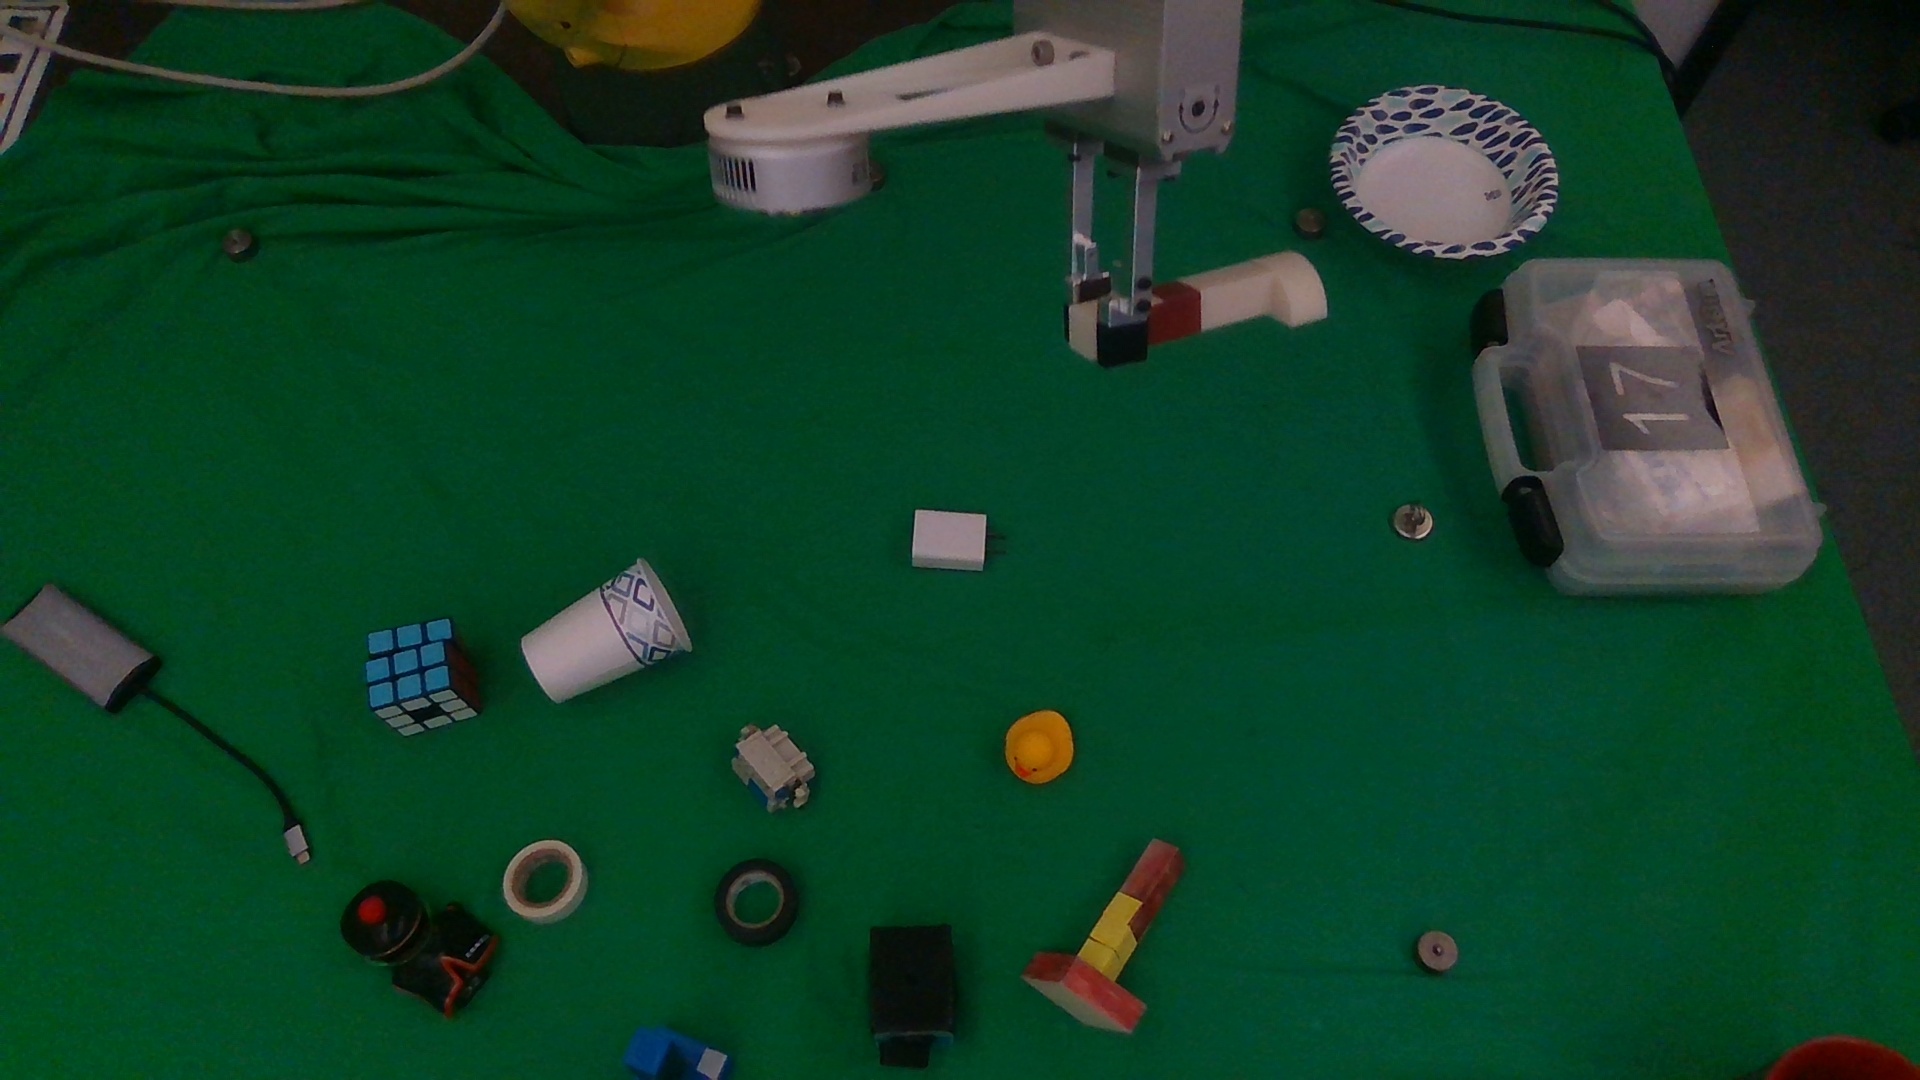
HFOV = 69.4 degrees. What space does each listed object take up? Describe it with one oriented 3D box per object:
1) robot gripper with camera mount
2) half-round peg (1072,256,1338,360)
[{"bbox_3d":[-0.014,-0.131,0.551,0.193,0.158,0.119,-17,32,-23],"label":"robot gripper with camera mount"},{"bbox_3d":[0.109,-0.104,0.637,0.121,0.031,0.054,-16,30,-20],"label":"half-round peg"}]
